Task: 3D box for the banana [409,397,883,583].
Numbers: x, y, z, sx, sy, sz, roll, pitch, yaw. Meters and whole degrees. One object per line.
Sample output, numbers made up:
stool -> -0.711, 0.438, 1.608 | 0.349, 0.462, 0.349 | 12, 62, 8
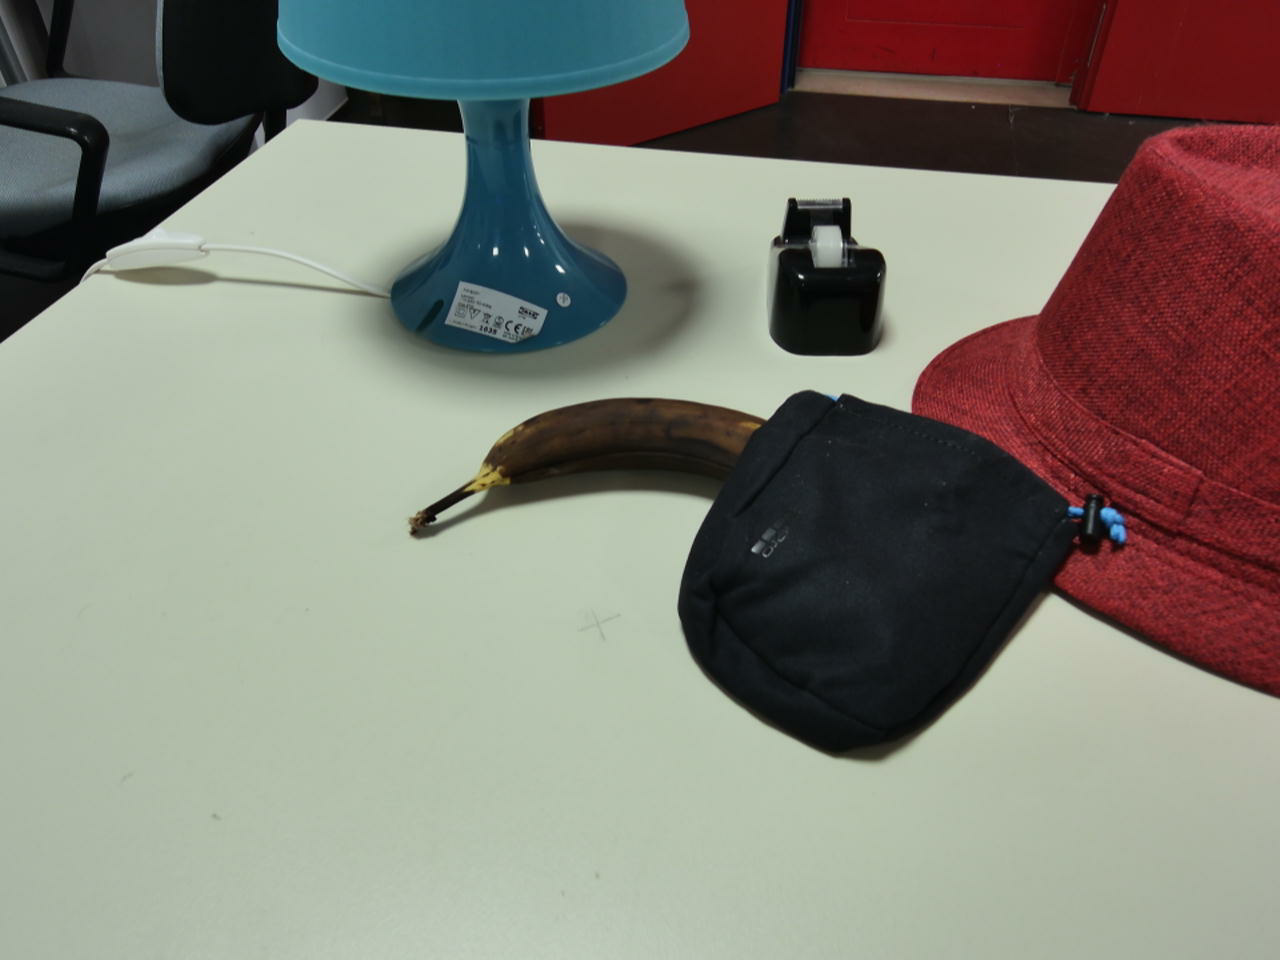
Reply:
banana -> 0.007, -0.004, 0.417 | 0.188, 0.034, 0.091 | 9, 39, 12
